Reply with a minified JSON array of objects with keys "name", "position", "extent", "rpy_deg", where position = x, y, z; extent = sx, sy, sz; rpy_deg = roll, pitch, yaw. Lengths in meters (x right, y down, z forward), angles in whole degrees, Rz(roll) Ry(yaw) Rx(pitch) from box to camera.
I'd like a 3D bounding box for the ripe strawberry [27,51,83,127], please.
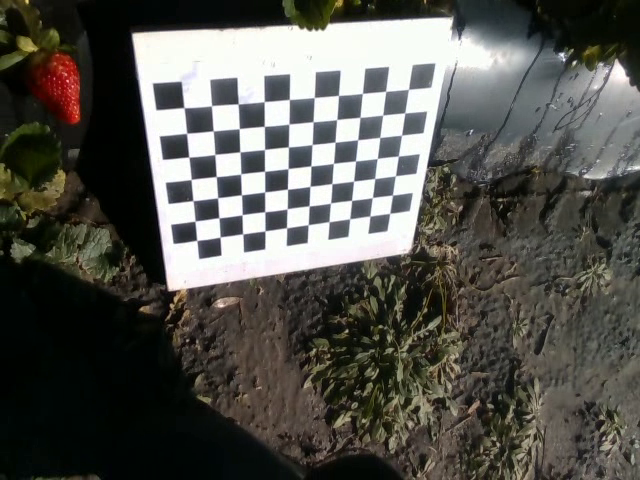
[{"name":"ripe strawberry","position":[-0.211,-0.122,0.506],"extent":[0.048,0.069,0.040],"rpy_deg":[-22,33,-4]}]
